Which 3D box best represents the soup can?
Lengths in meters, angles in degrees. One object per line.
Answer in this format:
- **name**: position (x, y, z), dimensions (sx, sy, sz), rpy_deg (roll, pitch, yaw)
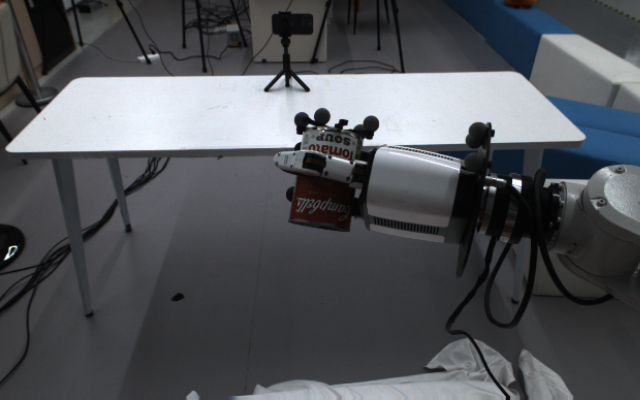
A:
- **soup can**: position (0.008, -0.020, 0.522), dimensions (0.067, 0.101, 0.067), rpy_deg (9, -6, 1)
